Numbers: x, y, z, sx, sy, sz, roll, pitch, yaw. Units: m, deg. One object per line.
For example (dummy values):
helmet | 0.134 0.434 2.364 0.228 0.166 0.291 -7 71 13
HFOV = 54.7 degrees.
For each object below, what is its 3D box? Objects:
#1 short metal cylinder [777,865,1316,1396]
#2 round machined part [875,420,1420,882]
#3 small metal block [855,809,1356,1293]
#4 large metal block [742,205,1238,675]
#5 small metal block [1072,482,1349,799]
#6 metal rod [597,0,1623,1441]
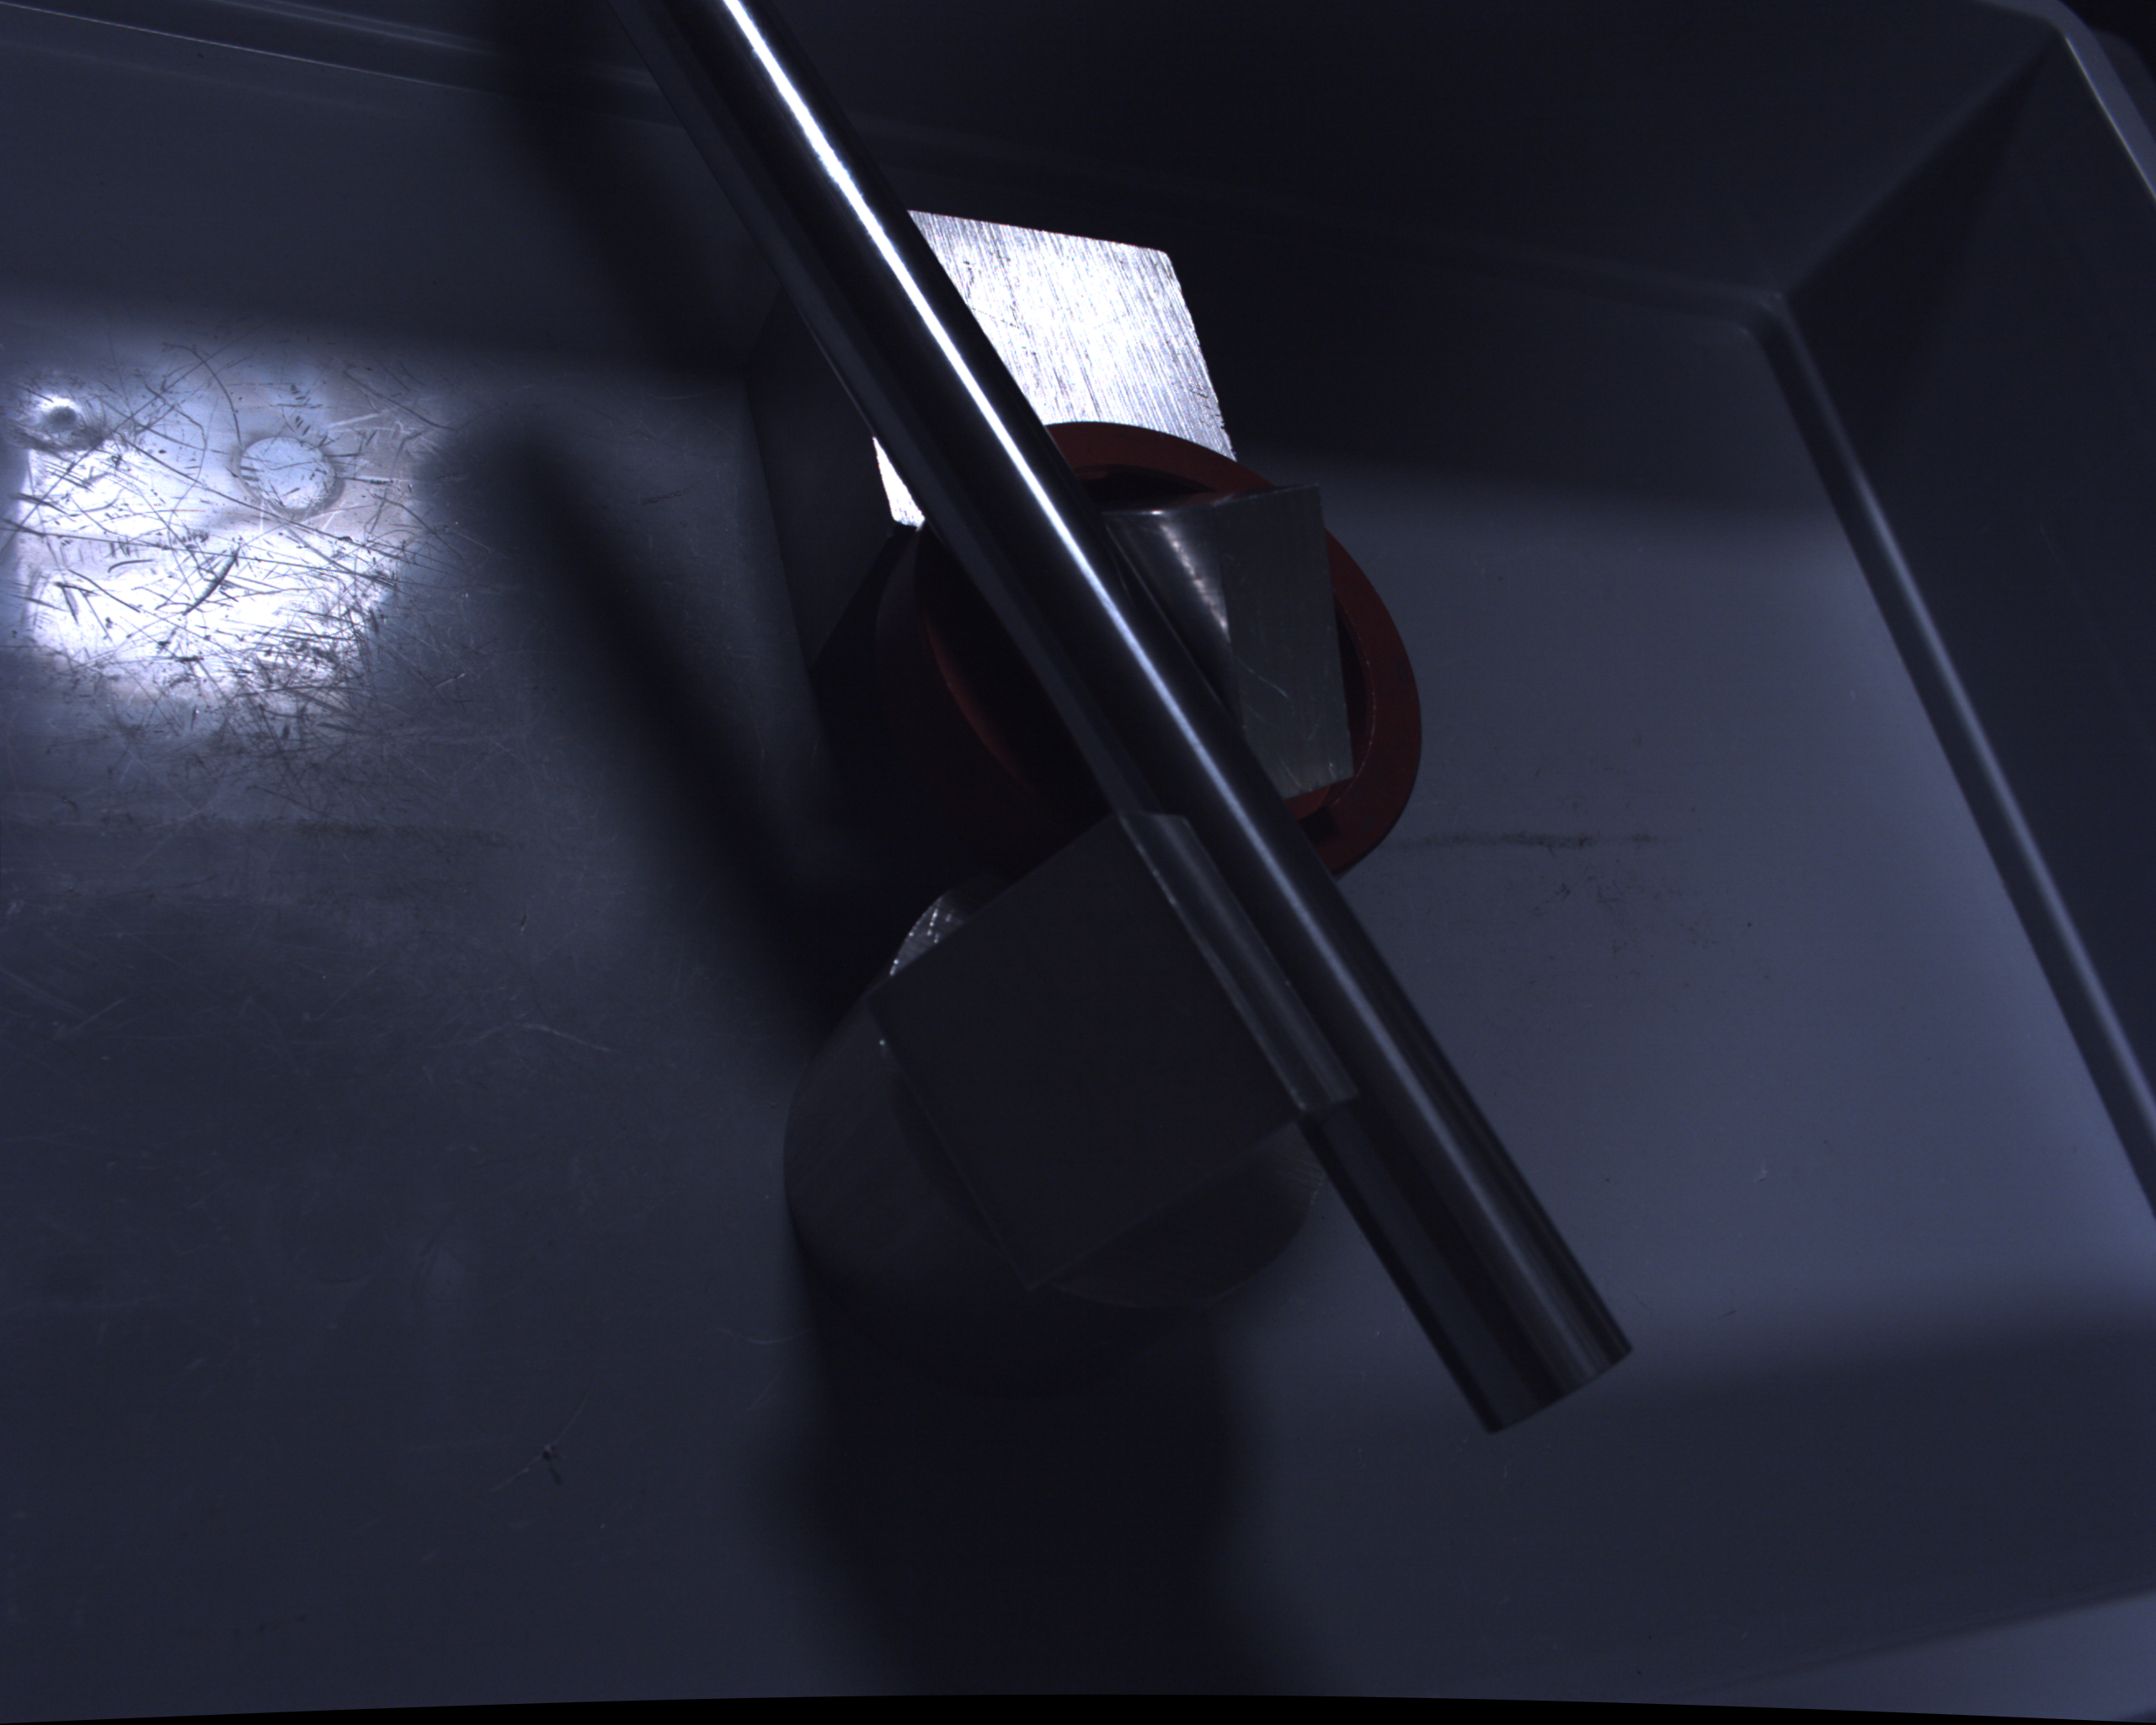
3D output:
short metal cylinder | -0.005 0.046 0.359 0.081 0.050 0.080 14 56 -21
round machined part | 0.009 -0.029 0.380 0.099 0.042 0.098 14 56 -21
small metal block | 0.004 0.027 0.308 0.050 0.050 0.025 59 19 14
large metal block | -0.017 -0.085 0.430 0.081 0.050 0.080 0 62 -29
small metal block | 0.017 -0.037 0.359 0.025 0.050 0.050 -19 107 -39
metal rod | -0.006 -0.046 0.340 0.025 0.025 0.299 -21 73 -36
